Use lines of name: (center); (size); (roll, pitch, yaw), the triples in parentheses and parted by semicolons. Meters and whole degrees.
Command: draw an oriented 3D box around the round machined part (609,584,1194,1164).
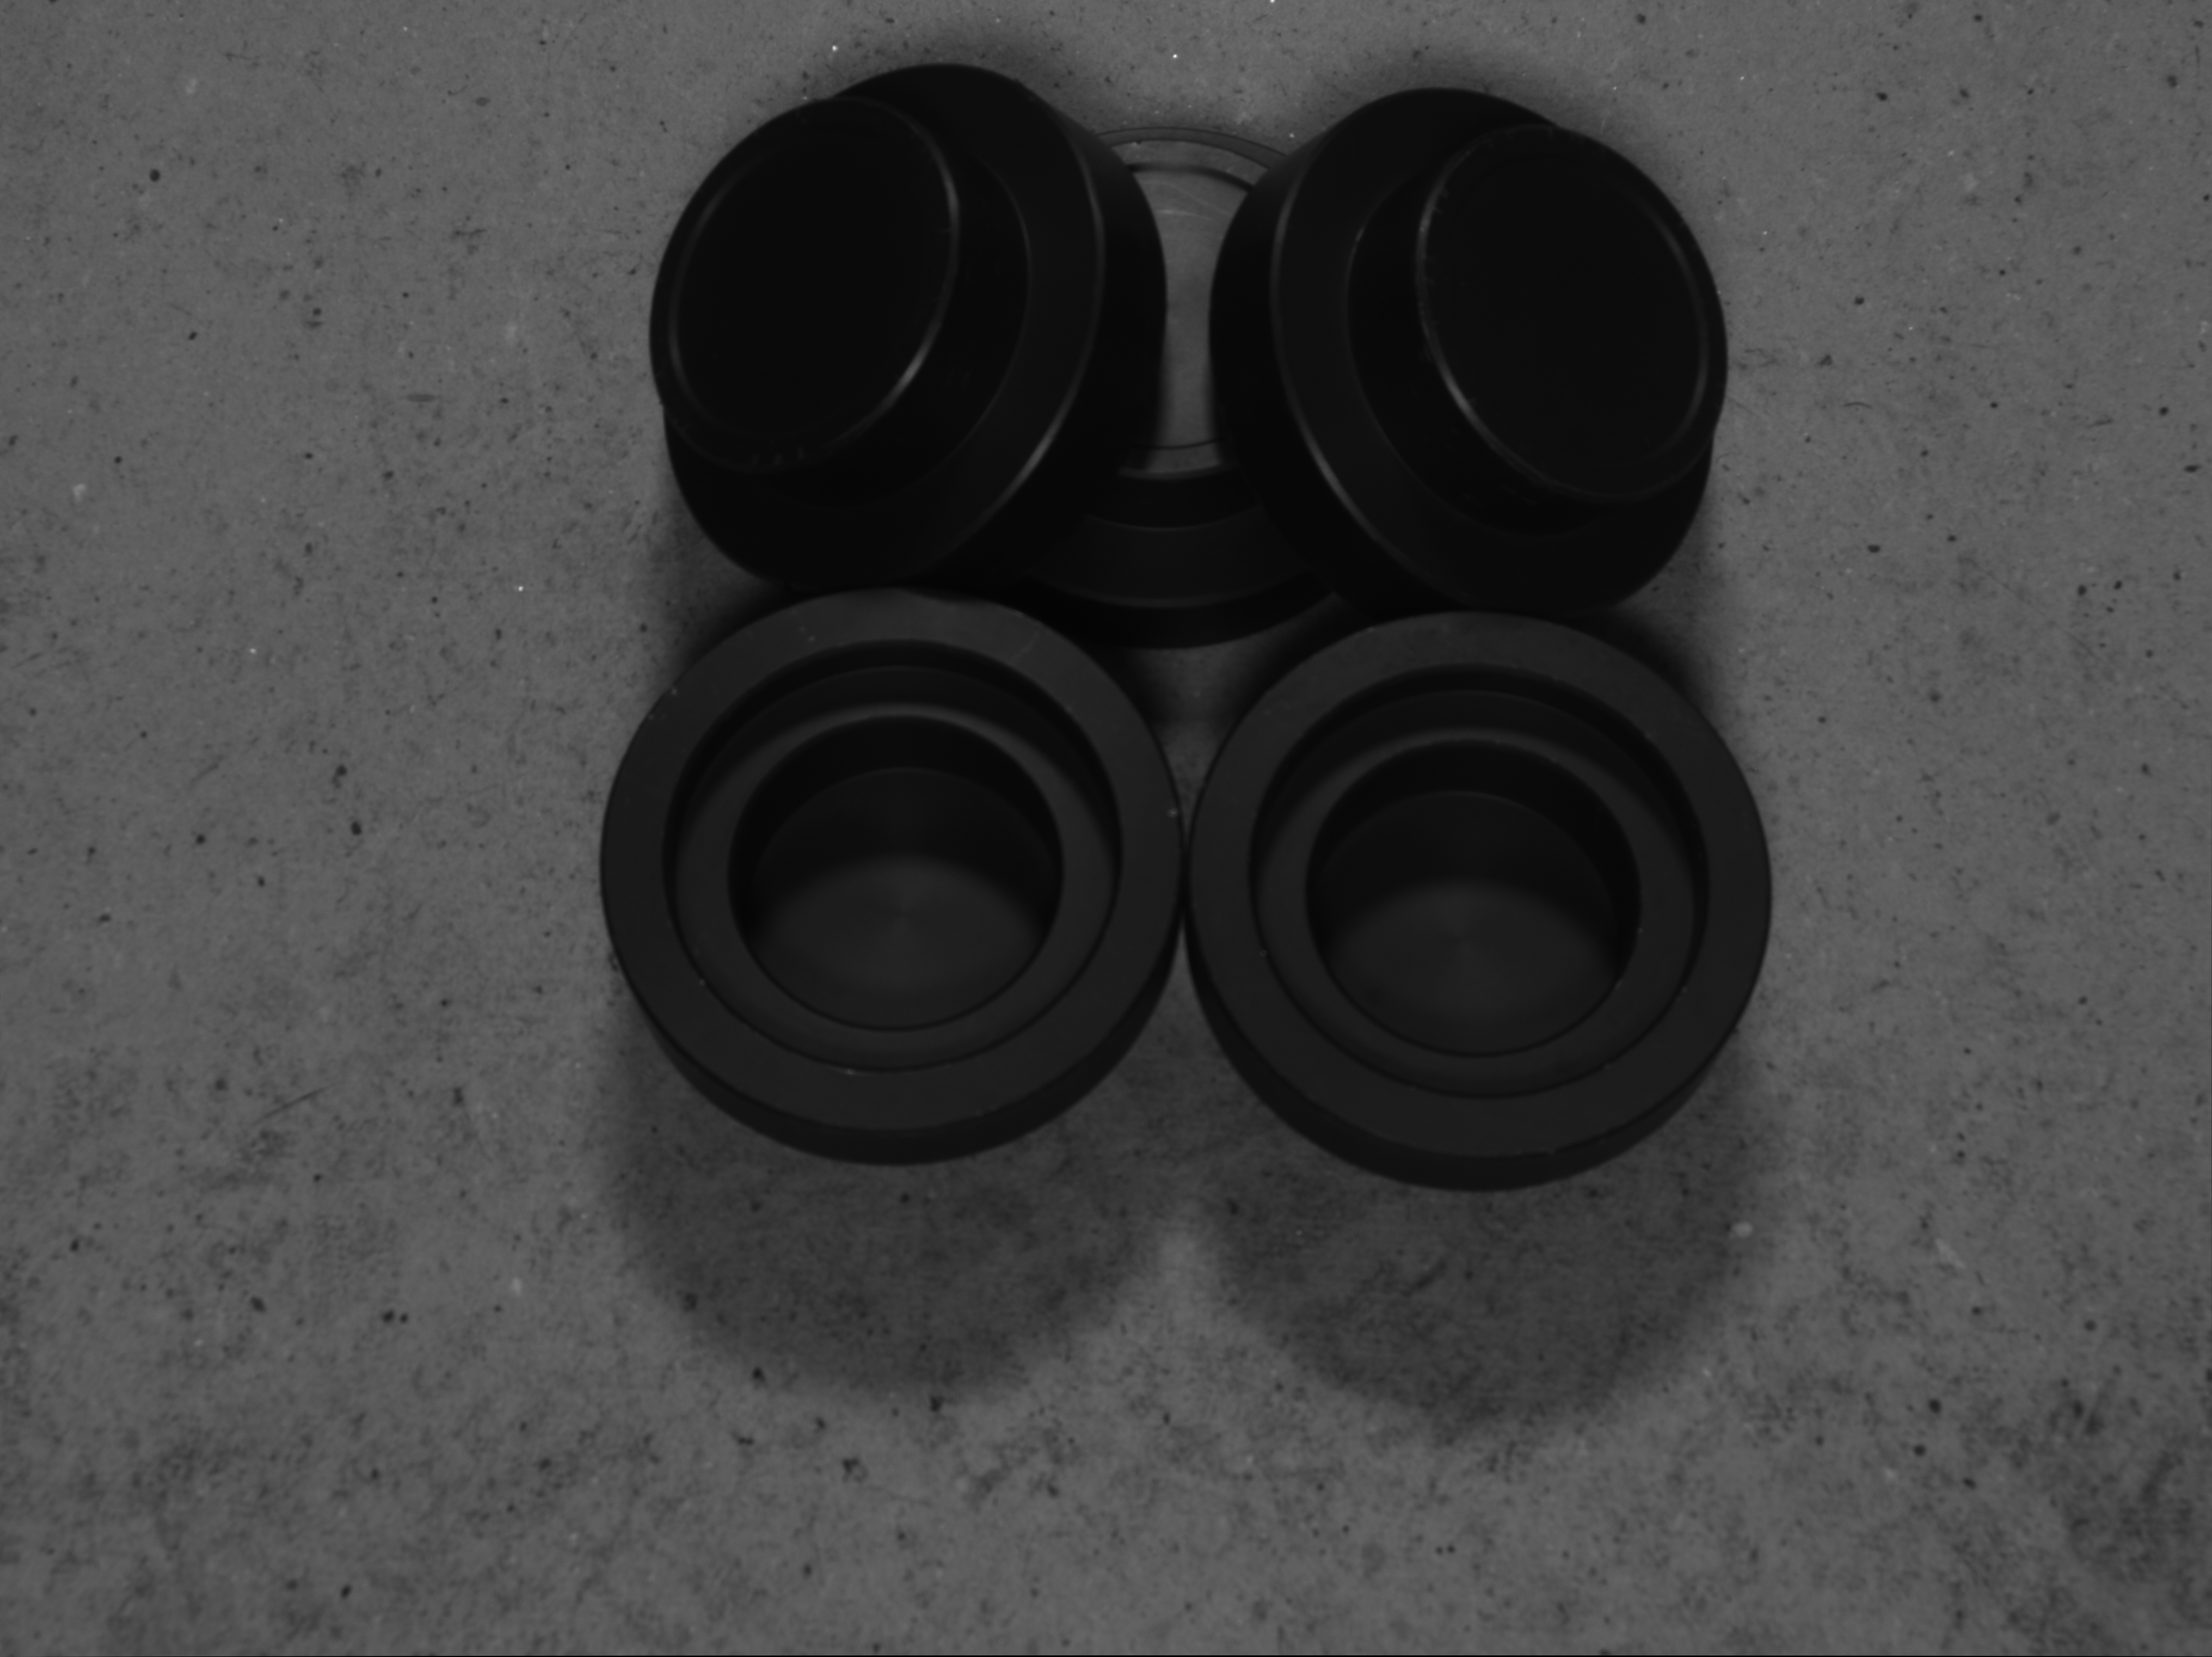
round machined part: (-0.034, 0.011, 0.632); (0.098, 0.042, 0.098); (0, 70, 0)

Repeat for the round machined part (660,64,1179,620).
round machined part: (-0.039, -0.089, 0.643); (0.098, 0.042, 0.098); (-11, 70, 32)

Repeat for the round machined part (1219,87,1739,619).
round machined part: (0.072, -0.084, 0.644); (0.098, 0.042, 0.098); (8, 74, -30)

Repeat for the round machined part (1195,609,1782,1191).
round machined part: (0.064, 0.015, 0.630); (0.098, 0.042, 0.098); (0, 70, 0)

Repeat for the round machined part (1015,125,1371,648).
round machined part: (0.012, -0.086, 0.667); (0.098, 0.042, 0.098); (0, 70, 0)
